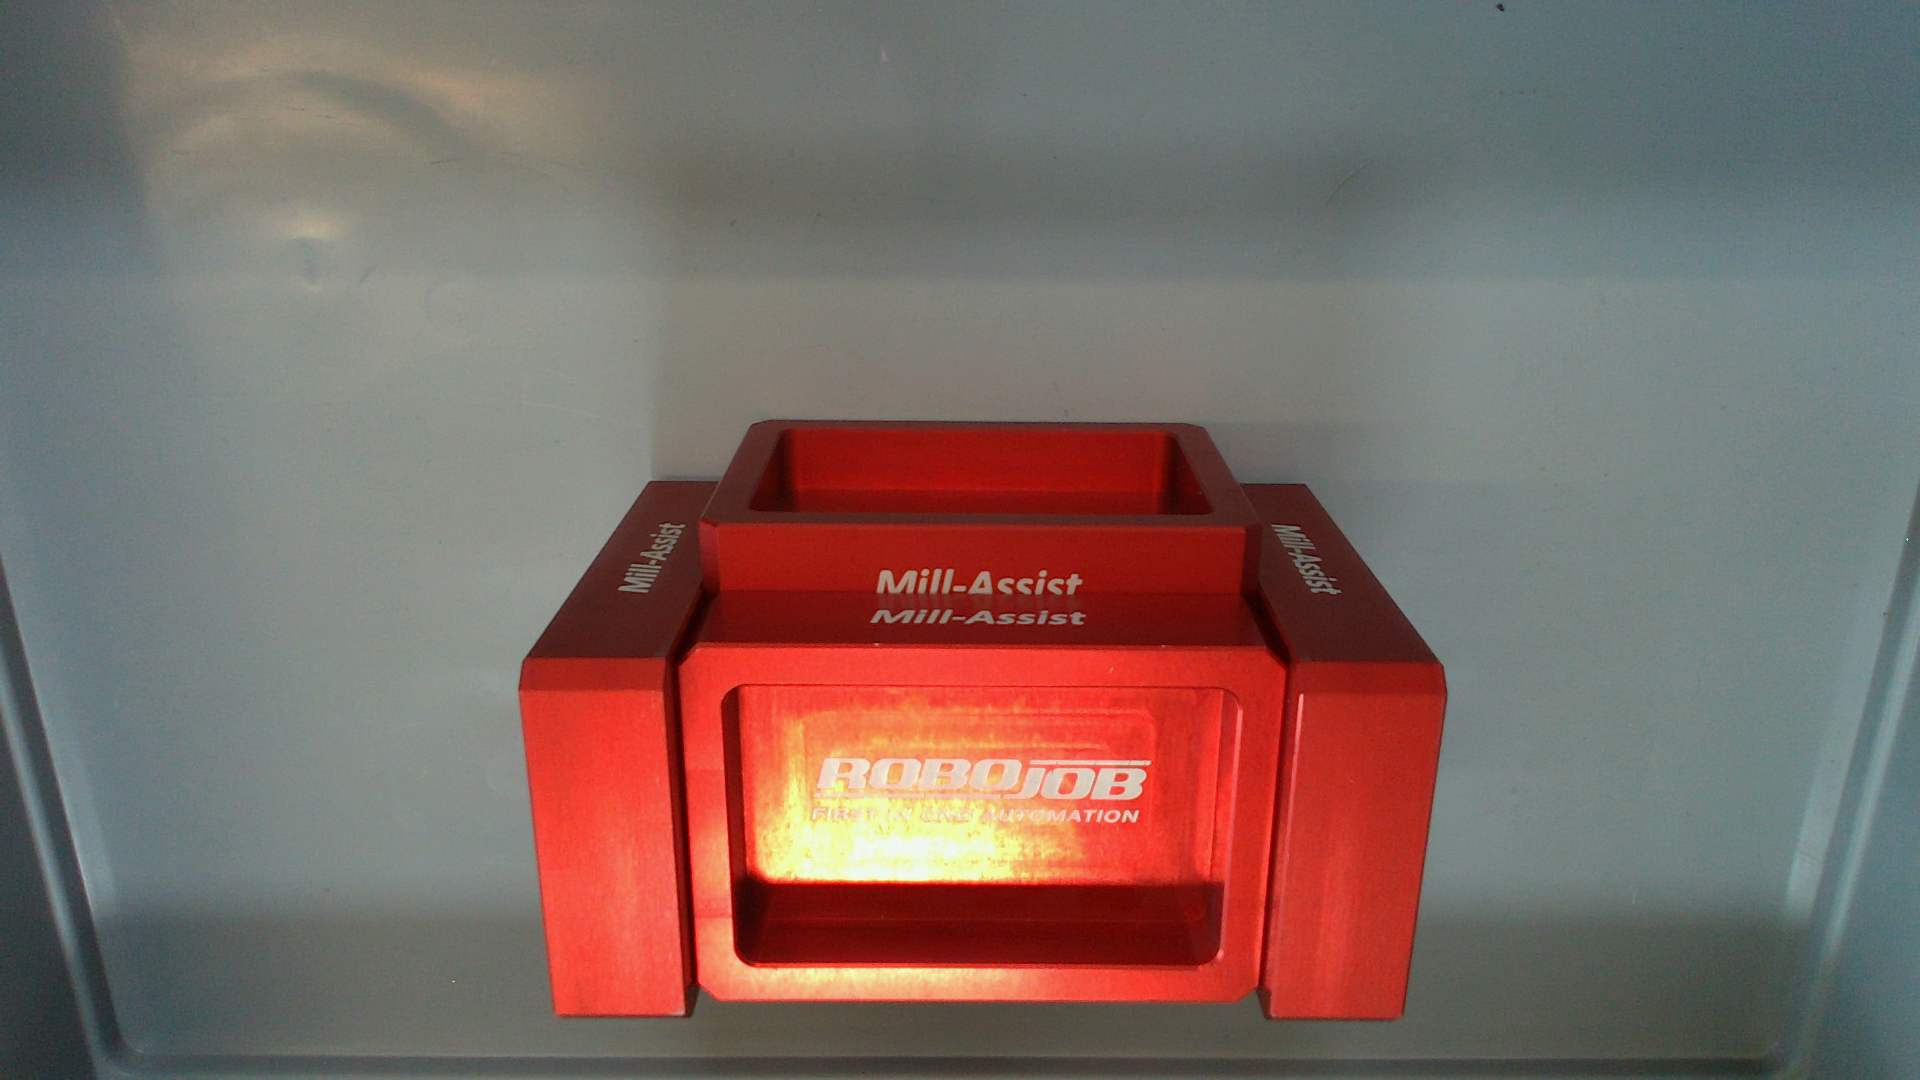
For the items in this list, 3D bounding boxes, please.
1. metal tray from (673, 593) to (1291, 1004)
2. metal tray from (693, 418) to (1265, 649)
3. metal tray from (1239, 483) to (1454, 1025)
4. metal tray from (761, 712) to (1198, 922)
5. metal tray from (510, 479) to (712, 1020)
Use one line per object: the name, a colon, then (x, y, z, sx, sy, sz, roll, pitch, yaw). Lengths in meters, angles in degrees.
metal tray: (0.004, 0.060, 0.316, 0.130, 0.030, 0.090, 1, 110, -1)
metal tray: (0.005, -0.004, 0.355, 0.130, 0.090, 0.030, 0, 111, 0)
metal tray: (0.085, 0.047, 0.354, 0.030, 0.130, 0.090, 1, 111, 0)
metal tray: (0.004, 0.080, 0.386, 0.130, 0.090, 0.030, 0, 110, 0)
metal tray: (-0.076, 0.046, 0.353, 0.030, 0.130, 0.090, 0, 111, 0)
